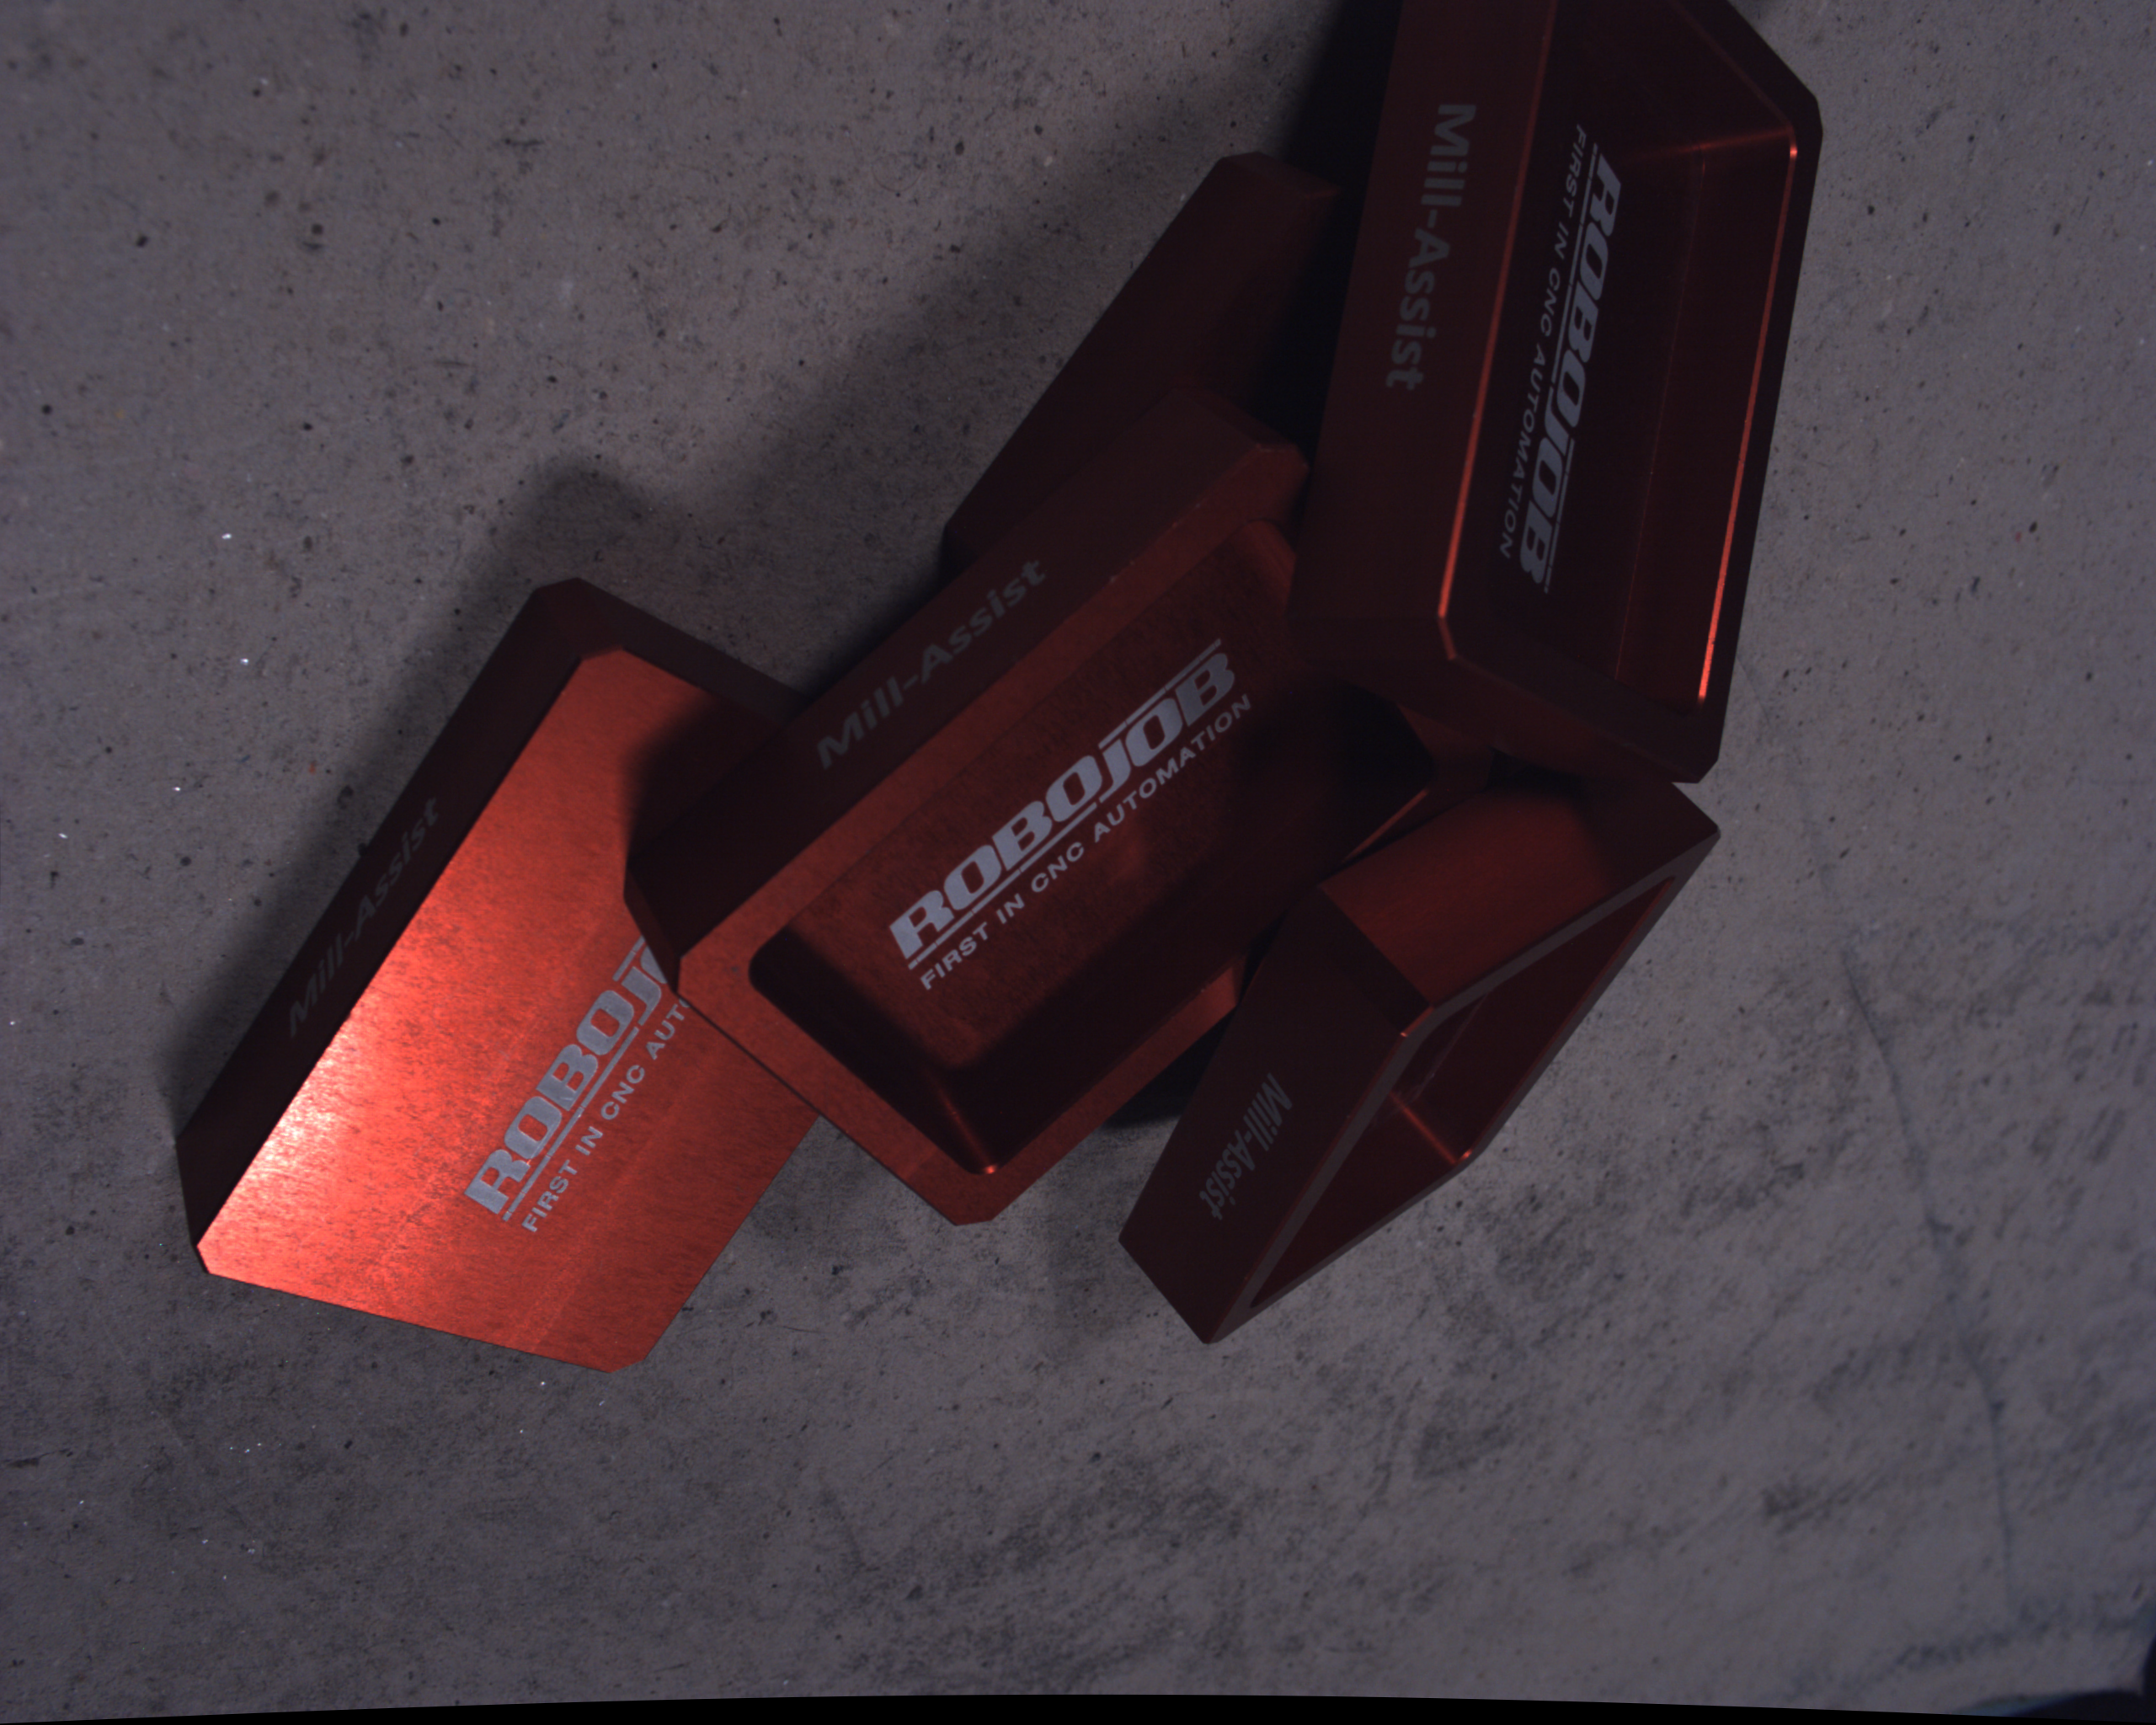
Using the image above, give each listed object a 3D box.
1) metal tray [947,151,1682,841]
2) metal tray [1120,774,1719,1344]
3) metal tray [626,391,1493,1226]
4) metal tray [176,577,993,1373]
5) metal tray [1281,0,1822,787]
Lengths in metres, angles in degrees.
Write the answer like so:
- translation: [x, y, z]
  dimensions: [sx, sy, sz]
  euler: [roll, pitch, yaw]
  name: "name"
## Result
- translation: [0.051, -0.059, 0.398]
  dimensions: [0.131, 0.030, 0.090]
  euler: [30, 101, -38]
  name: "metal tray"
- translation: [0.066, 0.038, 0.422]
  dimensions: [0.091, 0.030, 0.129]
  euler: [-27, 154, -32]
  name: "metal tray"
- translation: [0.000, -0.006, 0.364]
  dimensions: [0.130, 0.030, 0.090]
  euler: [-41, 130, 0]
  name: "metal tray"
- translation: [-0.086, 0.025, 0.373]
  dimensions: [0.090, 0.030, 0.130]
  euler: [28, 103, -38]
  name: "metal tray"
- translation: [0.084, -0.086, 0.356]
  dimensions: [0.091, 0.030, 0.129]
  euler: [17, 82, -46]
  name: "metal tray"
